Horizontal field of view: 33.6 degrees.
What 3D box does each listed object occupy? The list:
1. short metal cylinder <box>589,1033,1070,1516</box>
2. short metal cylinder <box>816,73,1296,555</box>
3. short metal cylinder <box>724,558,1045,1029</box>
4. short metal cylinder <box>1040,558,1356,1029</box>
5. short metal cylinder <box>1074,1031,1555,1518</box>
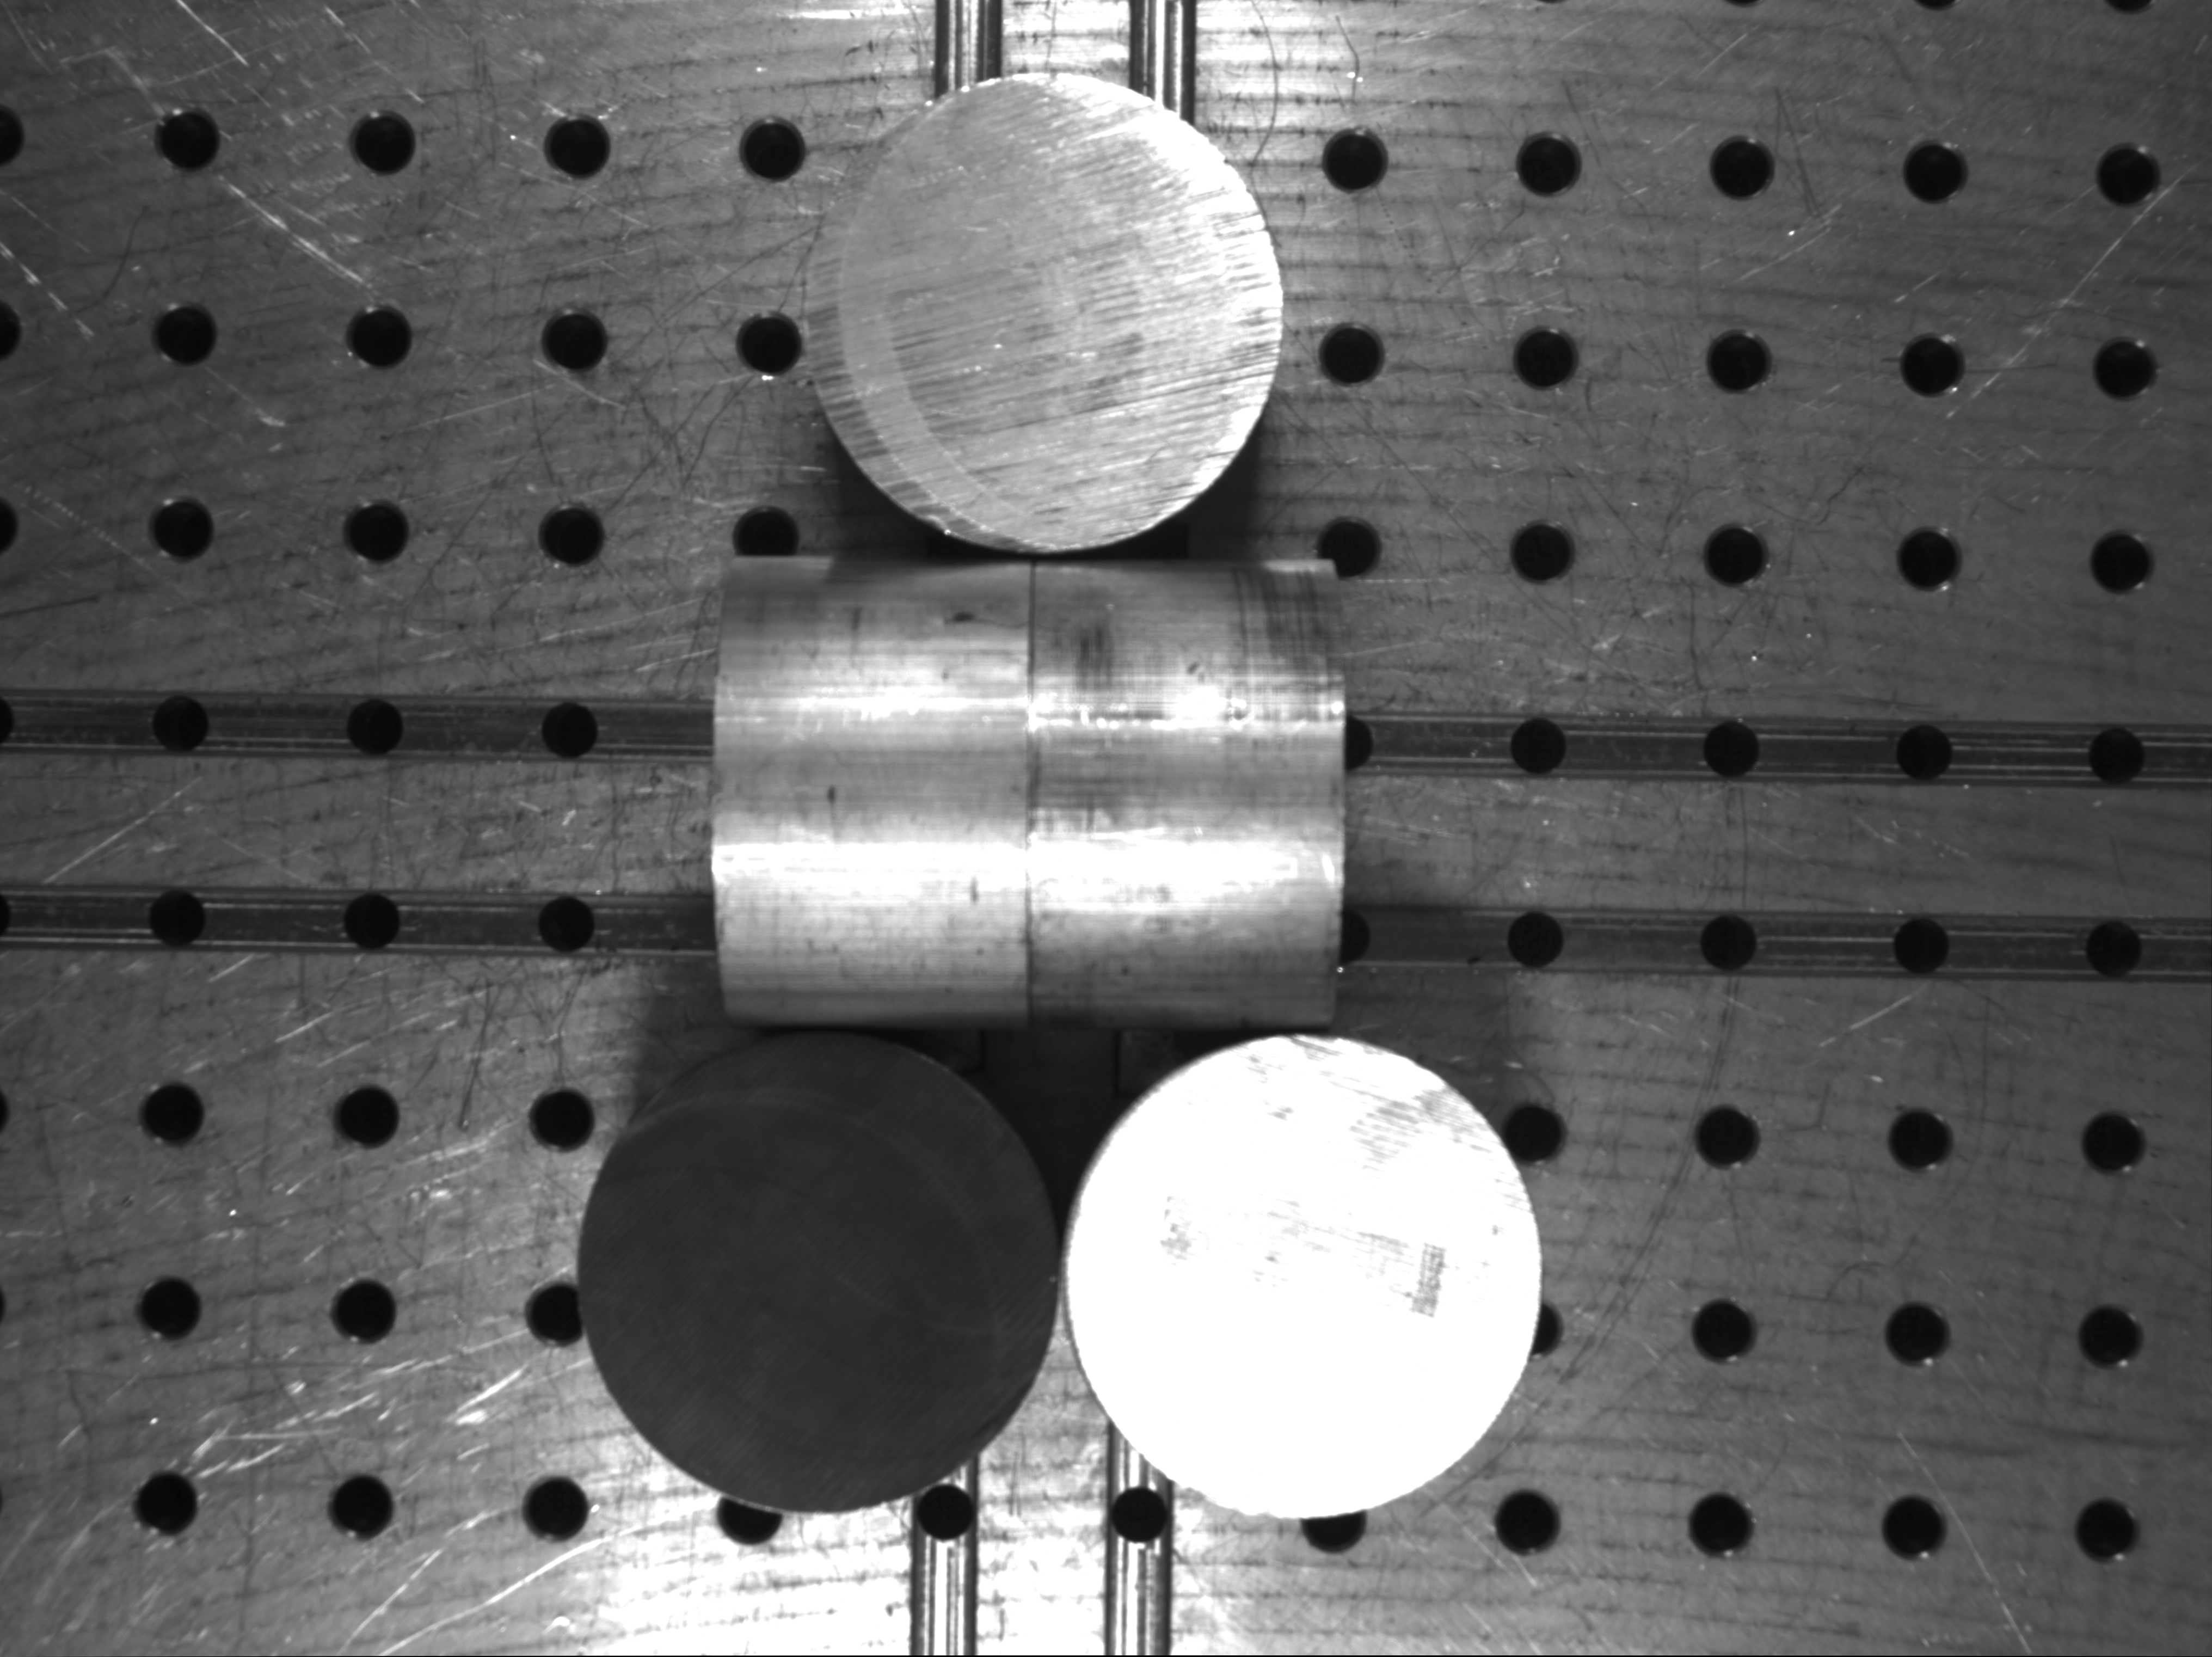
[{"bbox_3d":[-0.046,0.074,0.634,0.080,0.050,0.080,0,90,0],"label":"short metal cylinder"},{"bbox_3d":[-0.008,-0.086,0.635,0.080,0.050,0.080,0,90,0],"label":"short metal cylinder"},{"bbox_3d":[-0.036,-0.006,0.620,0.050,0.080,0.080,0,90,0],"label":"short metal cylinder"},{"bbox_3d":[0.015,-0.006,0.621,0.050,0.080,0.080,0,90,0],"label":"short metal cylinder"},{"bbox_3d":[0.035,0.075,0.634,0.080,0.050,0.080,0,90,0],"label":"short metal cylinder"}]
